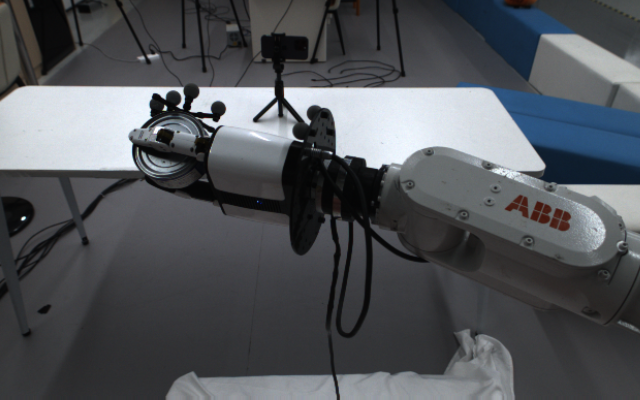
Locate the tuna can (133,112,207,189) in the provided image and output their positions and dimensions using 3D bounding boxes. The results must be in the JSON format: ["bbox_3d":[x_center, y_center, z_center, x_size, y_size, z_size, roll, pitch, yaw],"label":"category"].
[{"bbox_3d":[-0.168,-0.058,0.558,0.085,0.034,0.085,-3,68,8],"label":"tuna can"}]
